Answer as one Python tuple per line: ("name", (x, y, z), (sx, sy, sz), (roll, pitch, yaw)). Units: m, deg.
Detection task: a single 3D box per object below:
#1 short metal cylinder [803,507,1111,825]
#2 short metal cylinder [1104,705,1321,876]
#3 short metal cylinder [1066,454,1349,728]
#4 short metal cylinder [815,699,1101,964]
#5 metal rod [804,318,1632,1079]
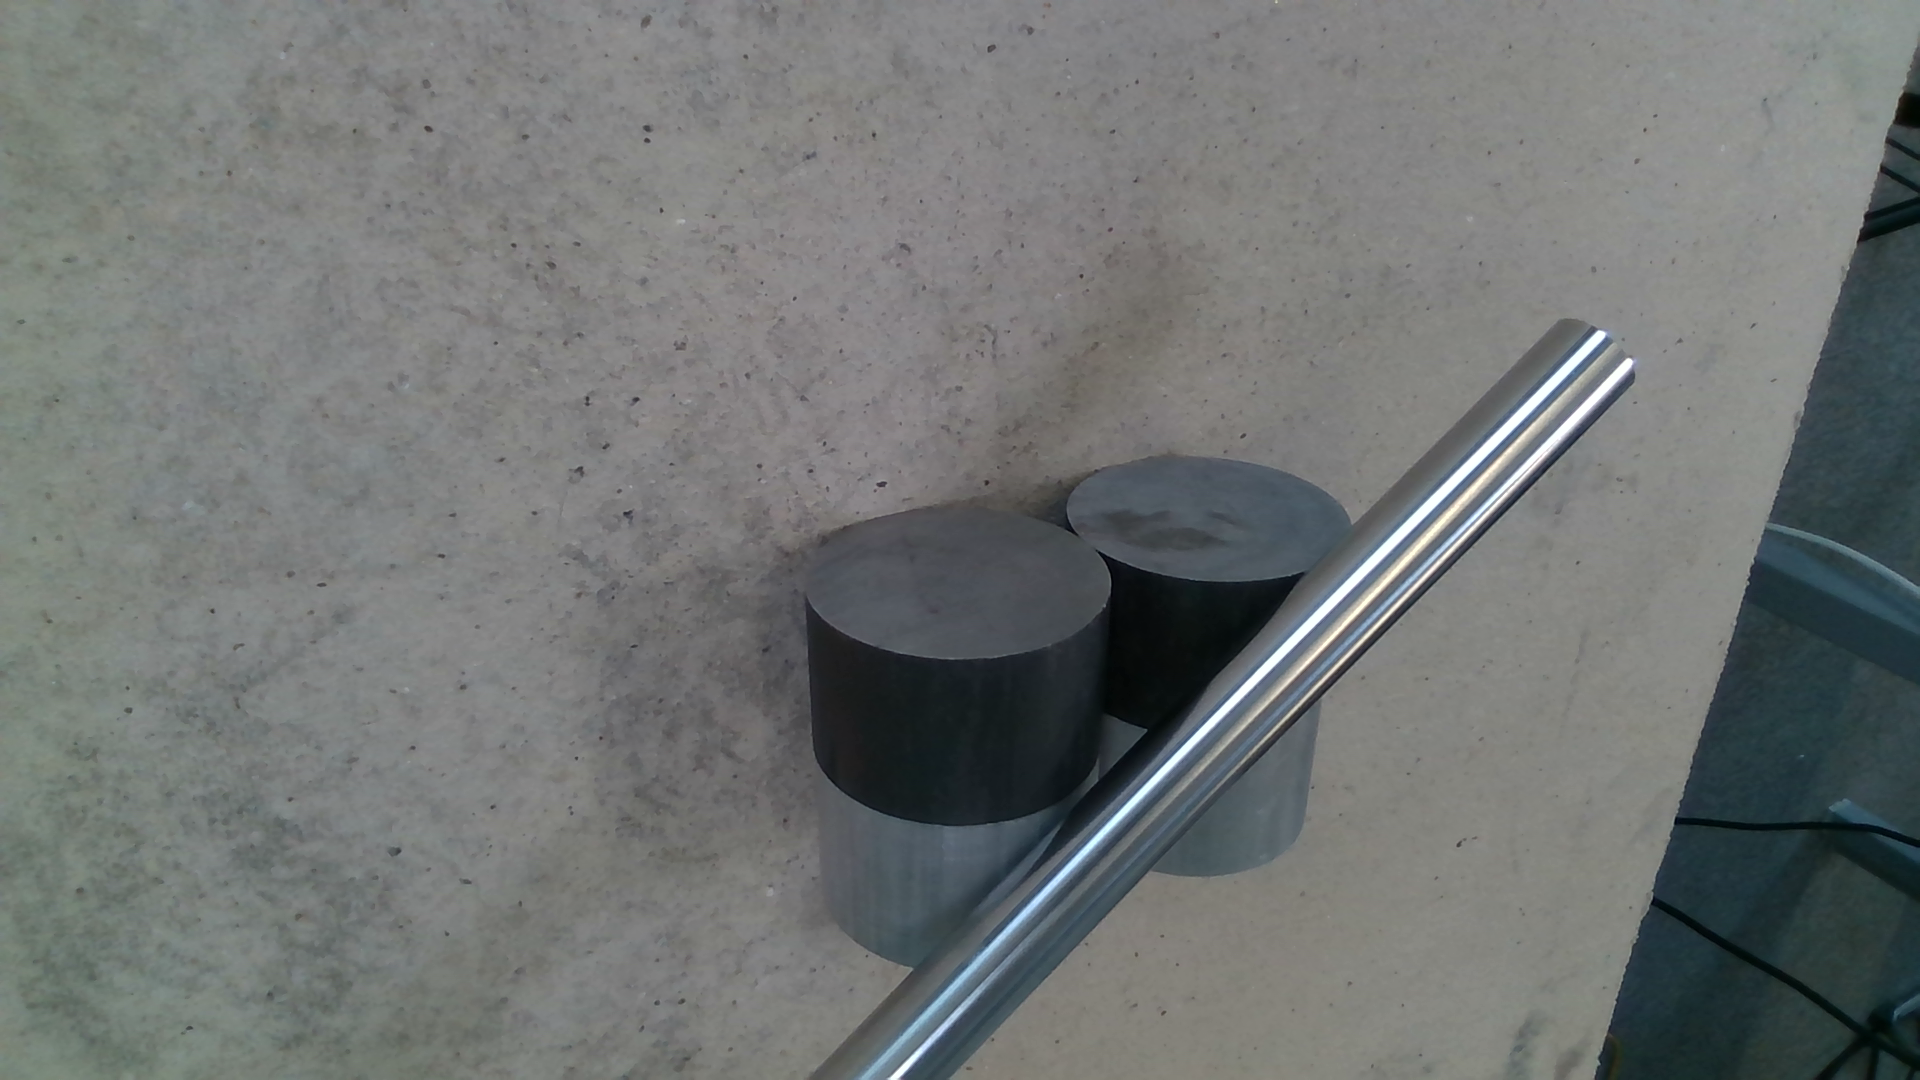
("short metal cylinder", (-0.001, 0.031, 0.371), (0.080, 0.080, 0.050), (-14, 121, -25))
("short metal cylinder", (0.069, 0.058, 0.429), (0.080, 0.080, 0.050), (-14, 121, -25))
("short metal cylinder", (0.070, 0.014, 0.406), (0.080, 0.080, 0.050), (-14, 121, -25))
("short metal cylinder", (-0.001, 0.076, 0.395), (0.080, 0.080, 0.050), (-14, 121, -25))
("metal rod", (0.059, 0.056, 0.354), (0.300, 0.025, 0.025), (-45, 129, -3))
